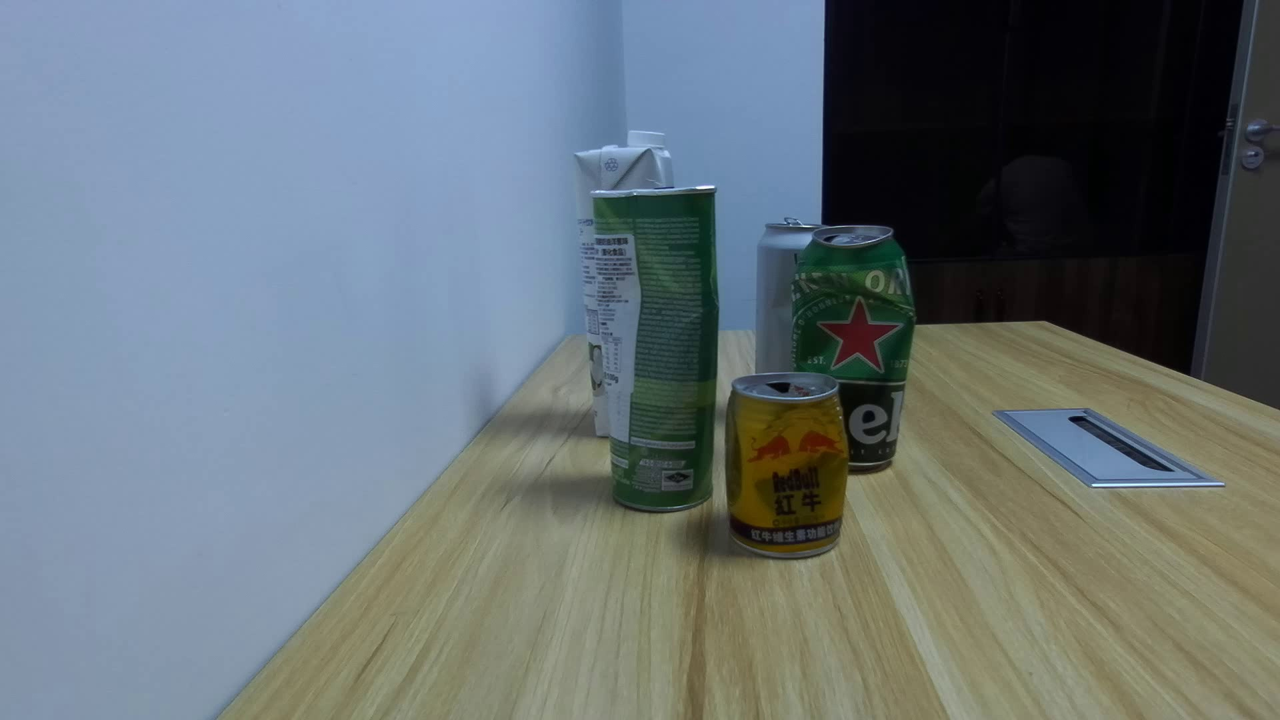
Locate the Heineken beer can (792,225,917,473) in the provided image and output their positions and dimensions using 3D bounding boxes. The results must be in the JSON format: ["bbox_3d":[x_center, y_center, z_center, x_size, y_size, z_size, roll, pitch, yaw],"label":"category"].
[{"bbox_3d":[0.149,-0.006,0.502,0.069,0.168,0.068,-11,17,-25],"label":"Heineken beer can"}]

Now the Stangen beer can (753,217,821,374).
[{"bbox_3d":[0.134,-0.032,0.598,0.070,0.173,0.069,-14,22,-33],"label":"Stangen beer can"}]

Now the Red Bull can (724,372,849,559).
[{"bbox_3d":[0.083,0.056,0.405,0.072,0.092,0.072,-4,14,1],"label":"Red Bull can"}]

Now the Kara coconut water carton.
[{"bbox_3d":[-0.004,-0.059,0.572,0.075,0.245,0.077,-6,2,3],"label":"Kara coconut water carton"}]

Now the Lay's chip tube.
[{"bbox_3d":[0.010,-0.007,0.455,0.075,0.199,0.069,-3,13,-4],"label":"Lay's chip tube"}]
